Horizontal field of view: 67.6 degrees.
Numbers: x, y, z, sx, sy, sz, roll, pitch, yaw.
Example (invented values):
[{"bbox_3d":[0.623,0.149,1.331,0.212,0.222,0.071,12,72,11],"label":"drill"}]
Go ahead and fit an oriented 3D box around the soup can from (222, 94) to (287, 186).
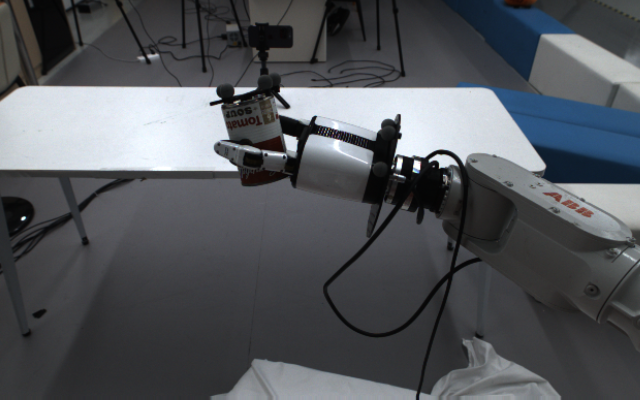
[{"bbox_3d":[-0.078,-0.075,0.606,0.067,0.101,0.067,-12,17,4],"label":"soup can"}]
